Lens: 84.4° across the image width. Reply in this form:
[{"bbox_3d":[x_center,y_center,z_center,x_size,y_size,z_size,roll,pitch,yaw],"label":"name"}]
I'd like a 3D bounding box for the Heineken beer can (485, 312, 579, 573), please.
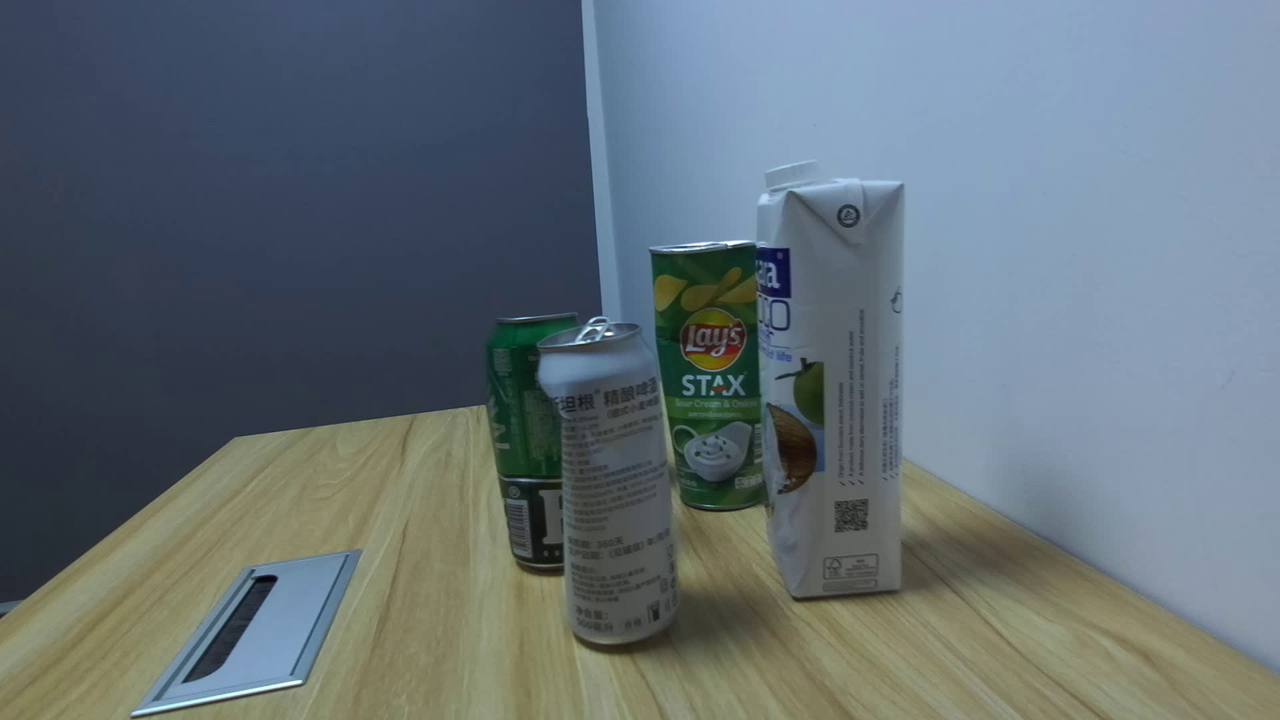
[{"bbox_3d":[-0.057,0.052,0.512,0.069,0.168,0.068,-13,16,-18],"label":"Heineken beer can"}]

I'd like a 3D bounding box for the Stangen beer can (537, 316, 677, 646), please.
[{"bbox_3d":[-0.018,0.065,0.385,0.070,0.173,0.069,-15,15,-42],"label":"Stangen beer can"}]

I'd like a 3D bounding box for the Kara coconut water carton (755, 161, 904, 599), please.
[{"bbox_3d":[0.110,0.011,0.412,0.075,0.245,0.077,-4,12,-2],"label":"Kara coconut water carton"}]

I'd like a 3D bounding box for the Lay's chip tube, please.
[{"bbox_3d":[0.059,0.011,0.545,0.075,0.199,0.068,-9,12,-19],"label":"Lay's chip tube"}]
